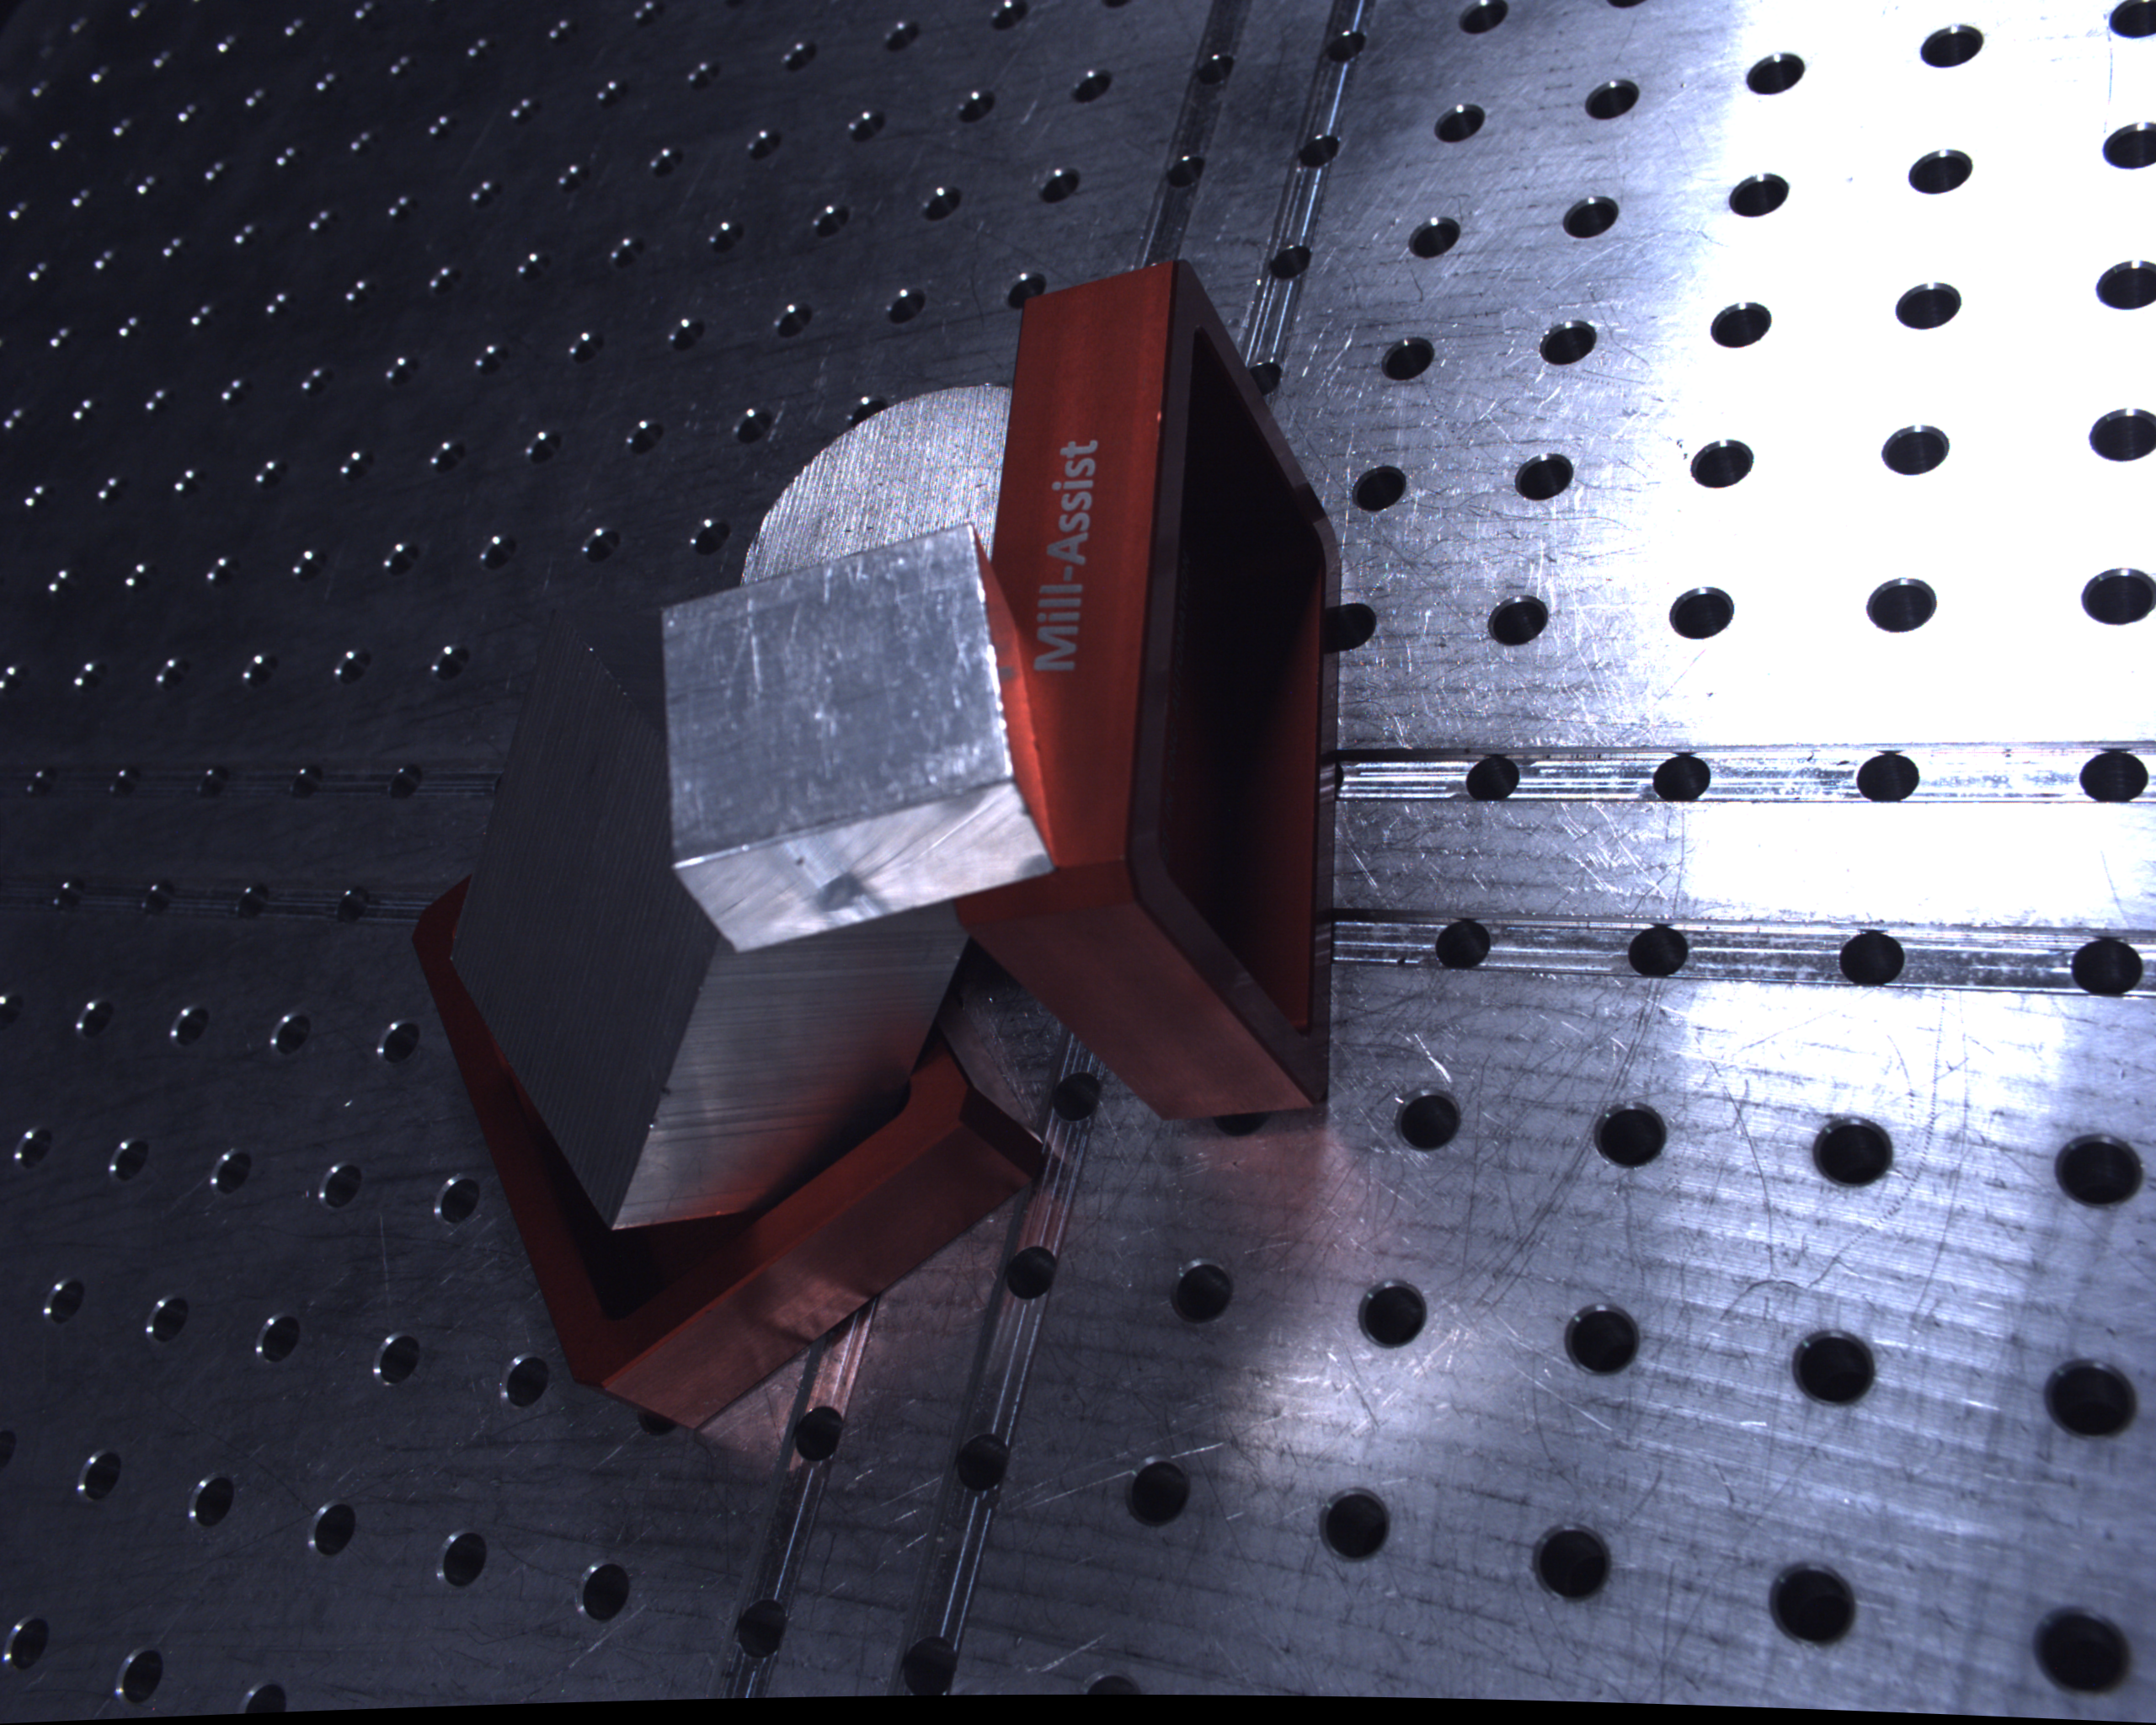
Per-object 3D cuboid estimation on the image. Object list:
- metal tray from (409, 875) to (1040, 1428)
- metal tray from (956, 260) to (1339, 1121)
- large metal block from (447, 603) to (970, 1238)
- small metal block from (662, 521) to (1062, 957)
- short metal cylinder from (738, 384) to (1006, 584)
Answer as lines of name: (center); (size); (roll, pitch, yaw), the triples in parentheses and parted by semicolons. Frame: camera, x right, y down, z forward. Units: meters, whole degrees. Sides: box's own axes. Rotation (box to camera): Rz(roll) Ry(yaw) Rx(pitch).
metal tray: (-0.076, 0.034, 0.420); (0.090, 0.030, 0.130); (-37, 51, 3)
metal tray: (0.017, -0.030, 0.374); (0.030, 0.090, 0.130); (-9, 58, 23)
large metal block: (-0.068, 0.009, 0.381); (0.080, 0.050, 0.079); (46, 124, 38)
small metal block: (-0.033, -0.019, 0.315); (0.050, 0.025, 0.050); (-15, 55, 6)
short metal cylinder: (-0.023, -0.052, 0.435); (0.080, 0.050, 0.080); (-13, 56, 20)
